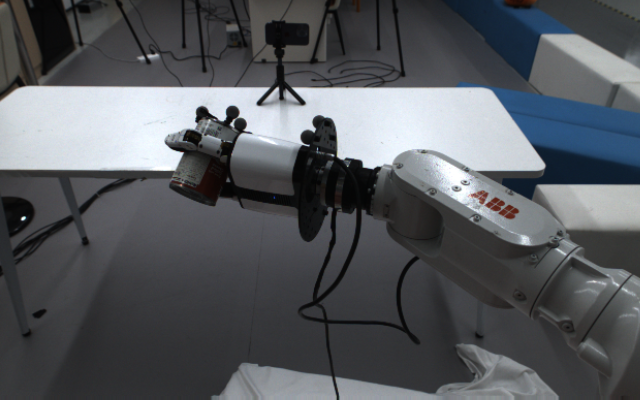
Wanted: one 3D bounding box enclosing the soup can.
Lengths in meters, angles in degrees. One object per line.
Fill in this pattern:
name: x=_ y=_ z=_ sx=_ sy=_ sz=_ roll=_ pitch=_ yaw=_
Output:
soup can: x=-0.152 y=-0.050 z=0.651 sx=0.067 sy=0.067 sz=0.101 roll=16 pitch=75 yaw=19
